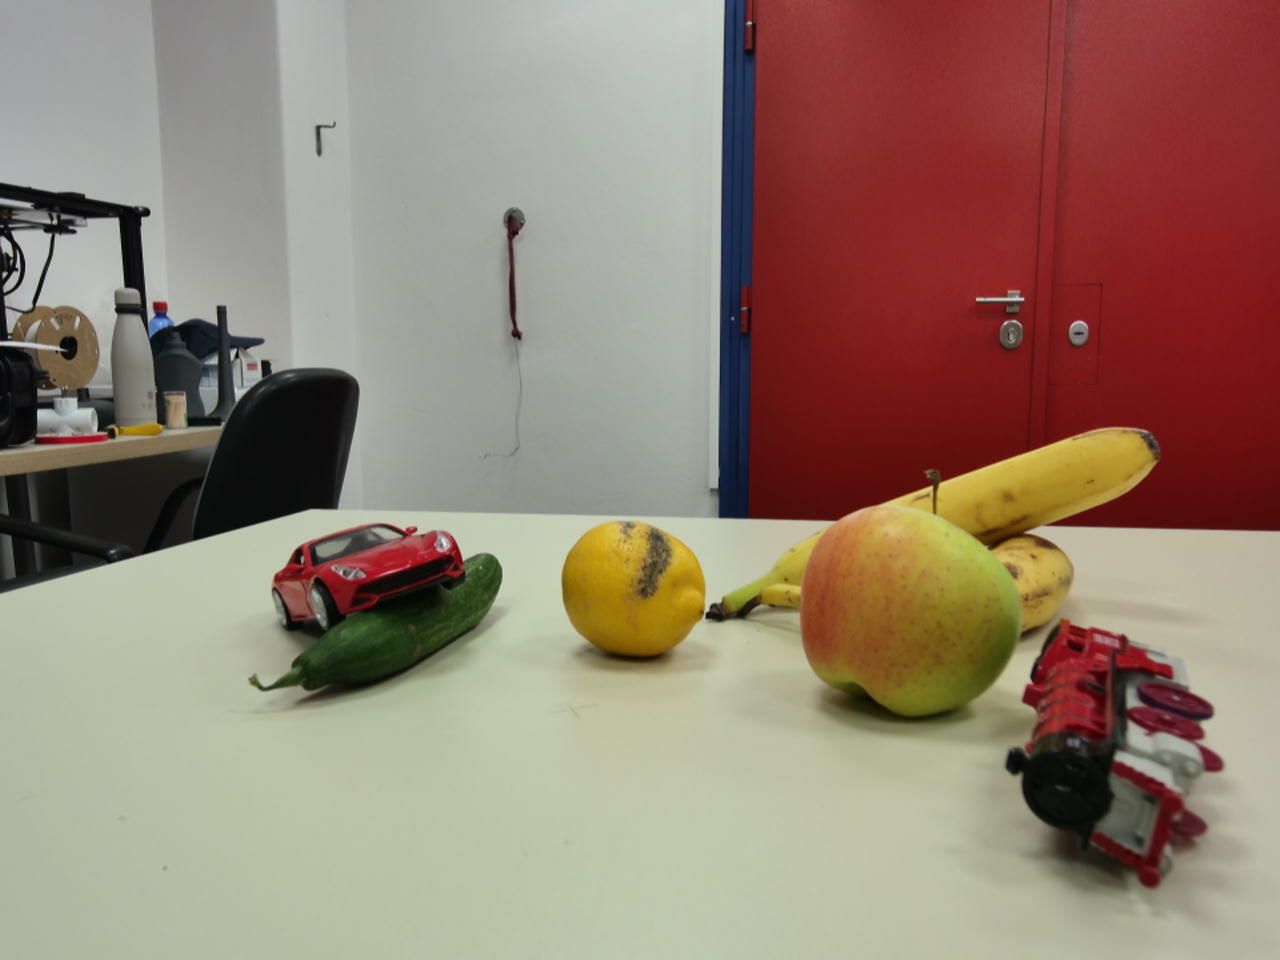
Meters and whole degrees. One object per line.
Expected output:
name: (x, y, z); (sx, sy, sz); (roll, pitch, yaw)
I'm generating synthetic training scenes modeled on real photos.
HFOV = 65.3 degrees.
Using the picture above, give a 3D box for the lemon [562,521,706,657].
lemon: (-0.002, 0.046, 0.426); (0.061, 0.056, 0.058); (1, 4, 4)
